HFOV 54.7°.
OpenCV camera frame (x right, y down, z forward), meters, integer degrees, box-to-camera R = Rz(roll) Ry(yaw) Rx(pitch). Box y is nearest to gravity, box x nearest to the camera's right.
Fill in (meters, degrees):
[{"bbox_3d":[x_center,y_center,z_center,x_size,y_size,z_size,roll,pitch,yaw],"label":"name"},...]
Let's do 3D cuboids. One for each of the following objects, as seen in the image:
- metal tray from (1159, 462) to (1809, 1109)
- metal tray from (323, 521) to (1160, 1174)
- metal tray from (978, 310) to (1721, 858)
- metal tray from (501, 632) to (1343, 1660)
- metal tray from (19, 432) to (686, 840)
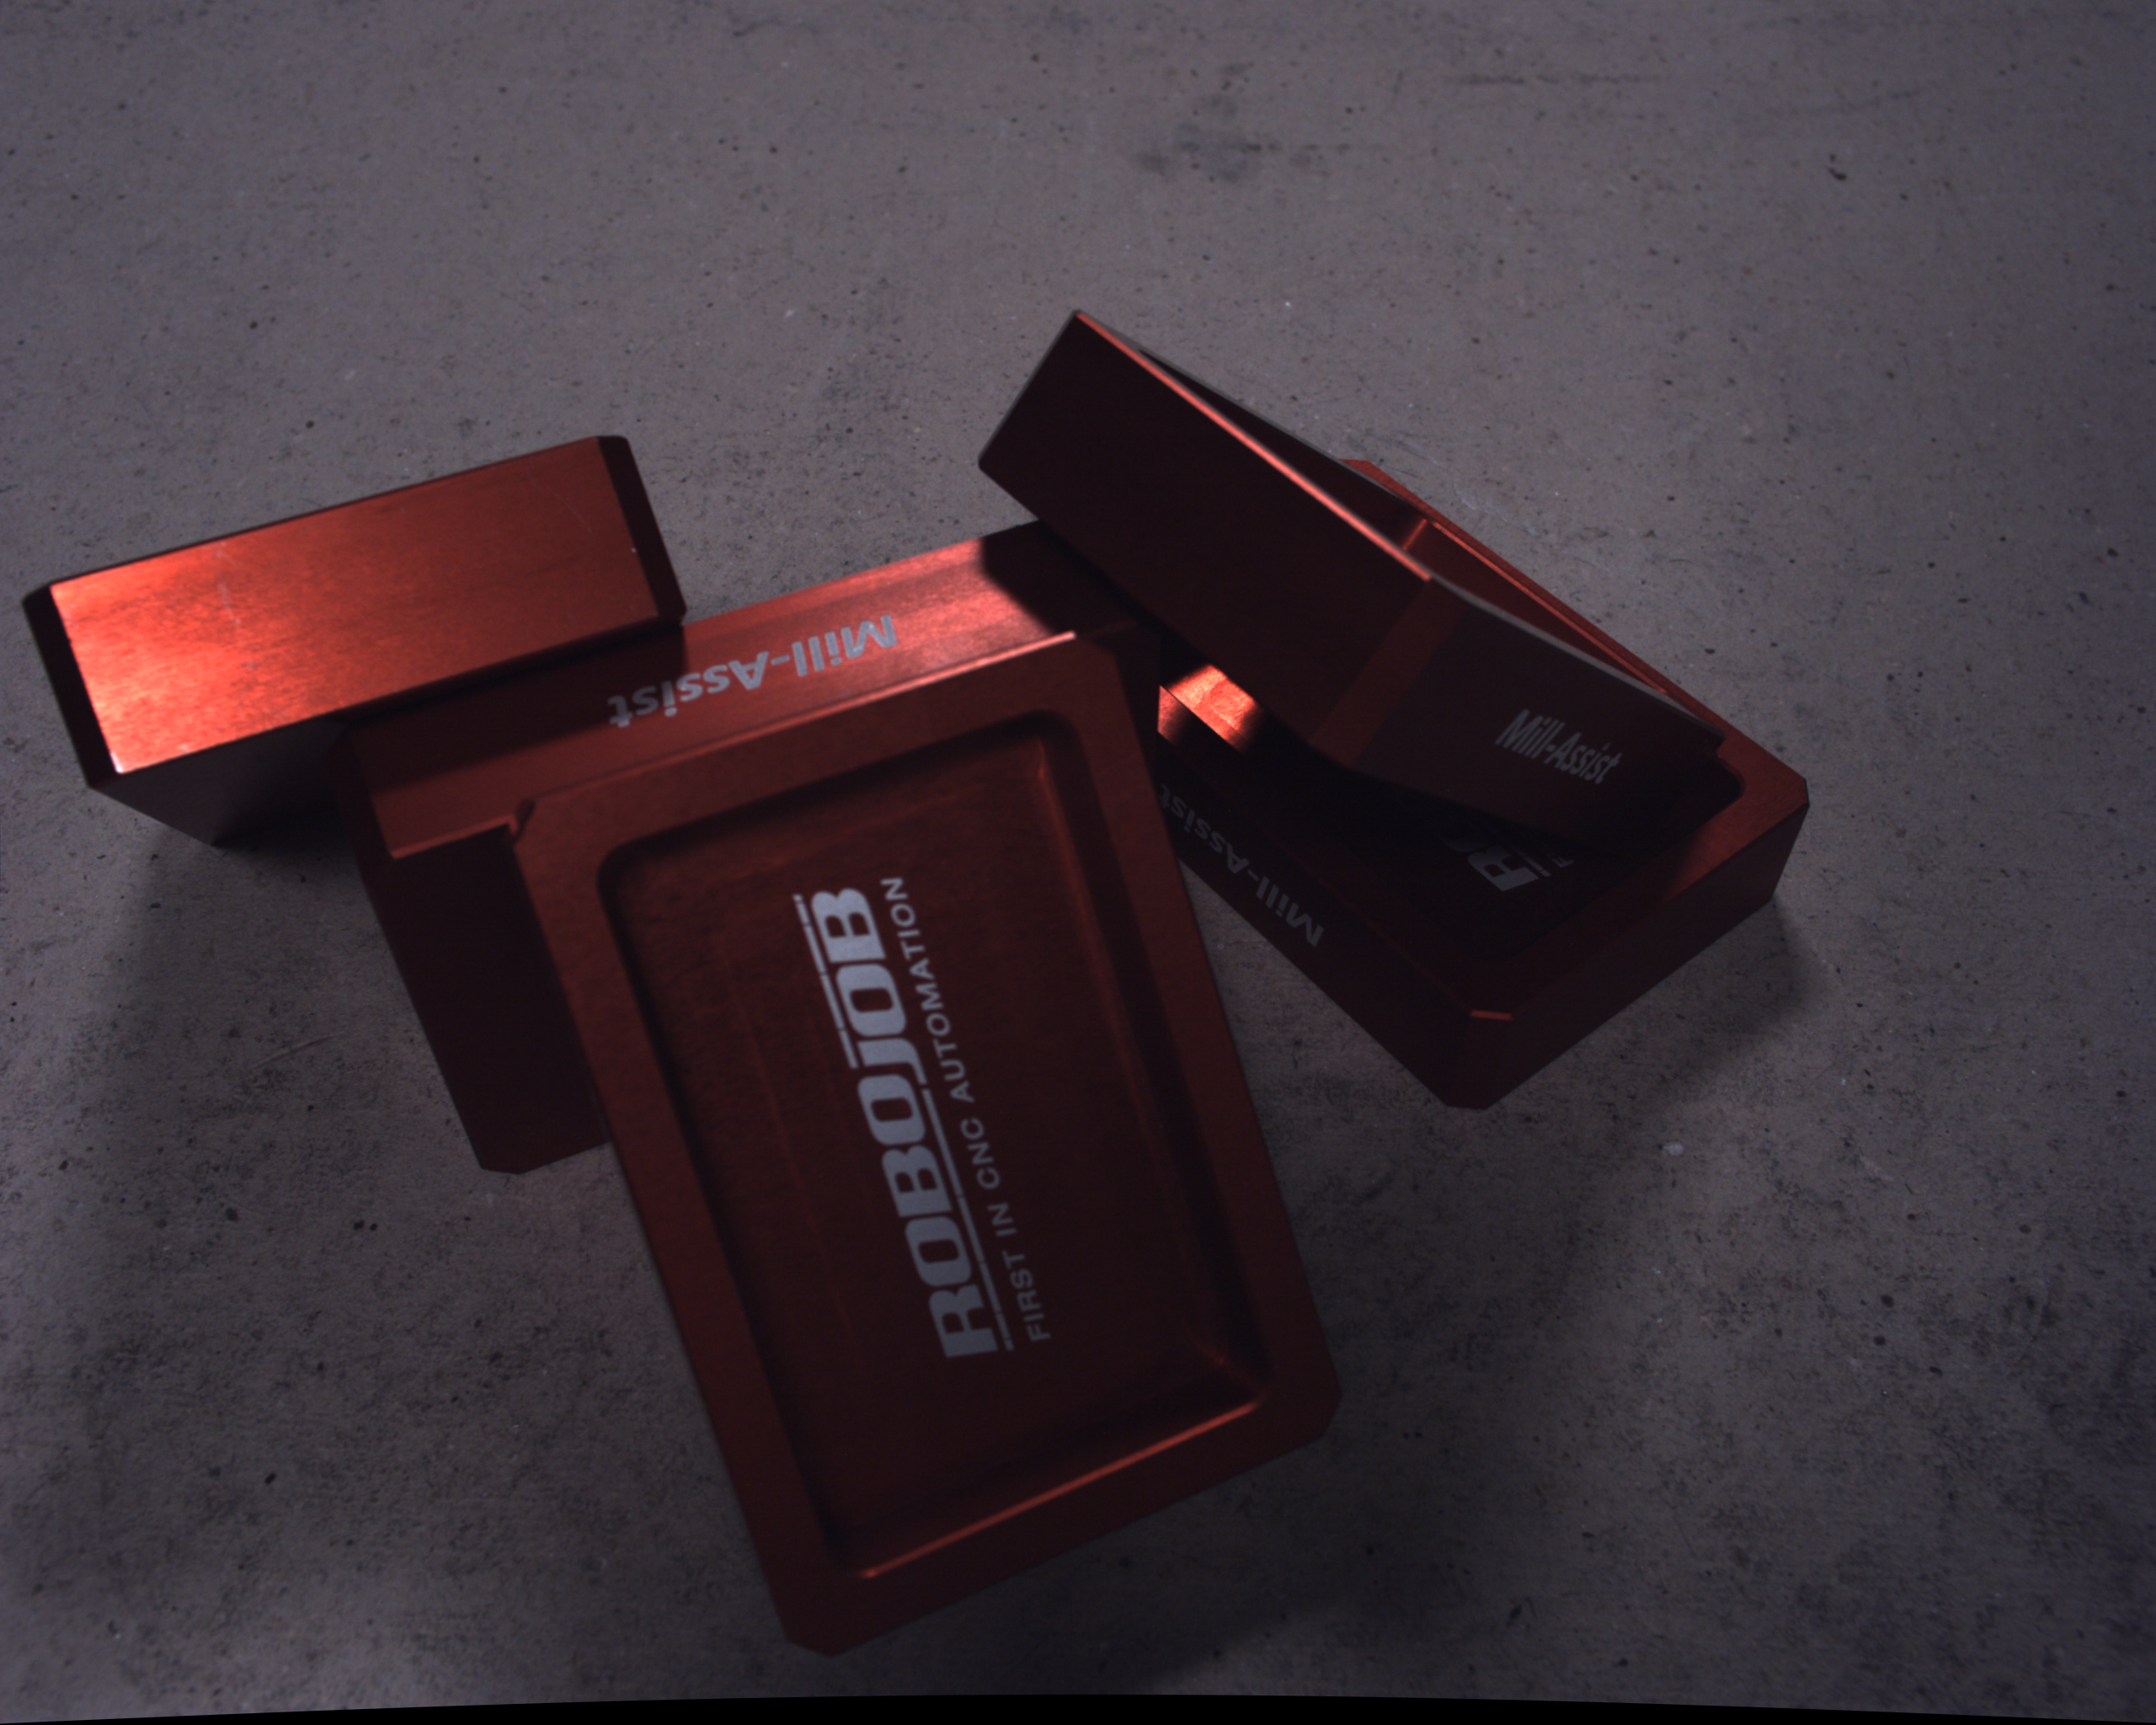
[{"bbox_3d":[0.066,-0.022,0.420,0.091,0.030,0.130,-31,57,-24],"label":"metal tray"},{"bbox_3d":[-0.052,-0.002,0.363,0.131,0.089,0.030,-20,53,-16],"label":"metal tray"},{"bbox_3d":[0.053,-0.046,0.371,0.090,0.030,0.131,45,18,30],"label":"metal tray"},{"bbox_3d":[-0.022,0.040,0.314,0.091,0.030,0.129,-20,98,-16],"label":"metal tray"},{"bbox_3d":[-0.123,-0.036,0.372,0.091,0.130,0.030,-19,92,-16],"label":"metal tray"}]
